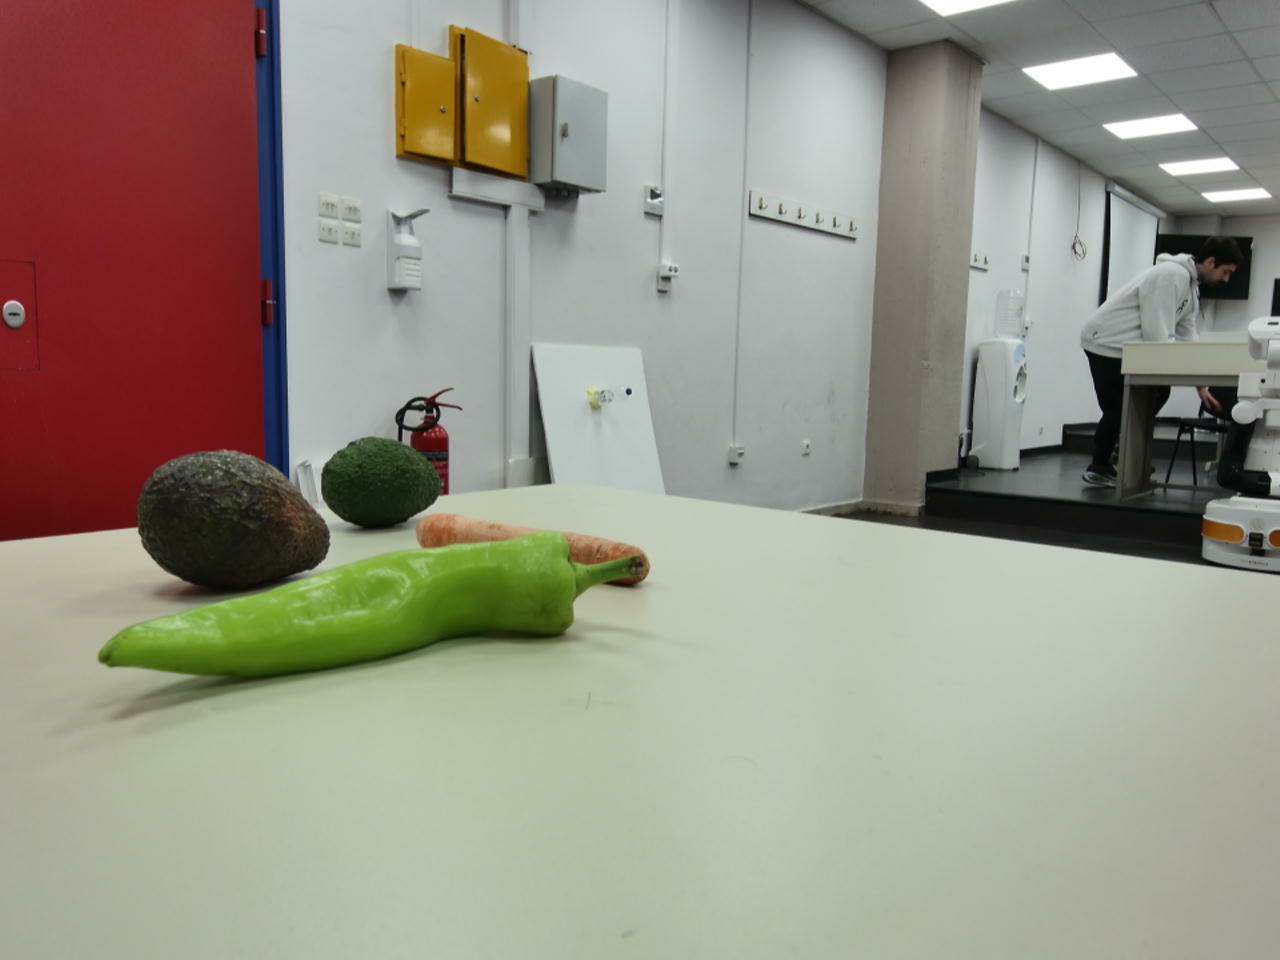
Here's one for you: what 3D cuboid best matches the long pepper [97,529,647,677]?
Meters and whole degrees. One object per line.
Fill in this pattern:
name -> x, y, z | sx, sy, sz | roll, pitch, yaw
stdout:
long pepper -> -0.098, 0.048, 0.399 | 0.204, 0.045, 0.065 | -4, 5, -34
